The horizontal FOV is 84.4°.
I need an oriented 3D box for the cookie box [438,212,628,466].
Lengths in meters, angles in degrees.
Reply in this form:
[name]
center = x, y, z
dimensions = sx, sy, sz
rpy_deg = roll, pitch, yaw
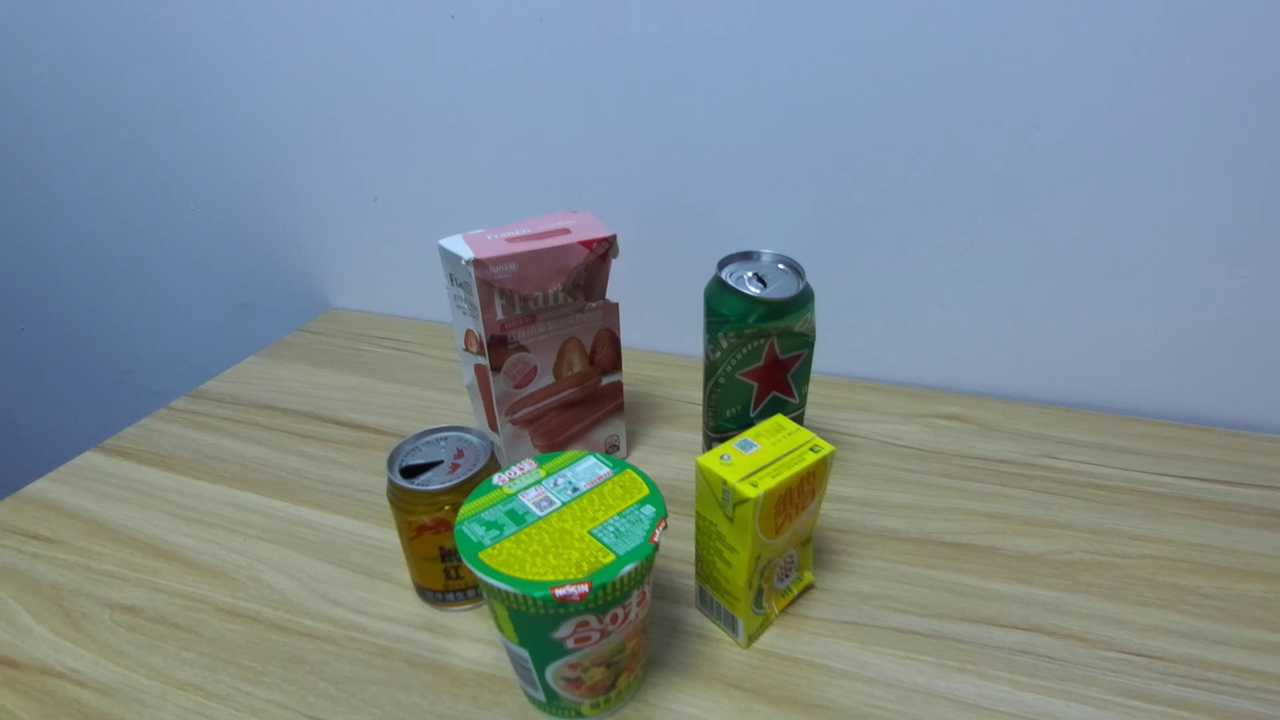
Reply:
[cookie box]
center = -0.066, 0.000, 0.492
dimensions = 0.105, 0.186, 0.059
rpy_deg = -17, 34, -24

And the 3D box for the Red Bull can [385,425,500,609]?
[Red Bull can]
center = -0.111, 0.094, 0.422
dimensions = 0.068, 0.093, 0.068
rpy_deg = -2, 28, 1

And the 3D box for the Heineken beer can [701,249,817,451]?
[Heineken beer can]
center = 0.074, 0.017, 0.460
dimensions = 0.068, 0.168, 0.069
rpy_deg = 8, 34, 15

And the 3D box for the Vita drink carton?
[Vita drink carton]
center = 0.070, 0.092, 0.390
dimensions = 0.077, 0.109, 0.043
rpy_deg = -23, 35, -30

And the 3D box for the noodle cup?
[noodle cup]
center = -0.035, 0.120, 0.357
dimensions = 0.097, 0.110, 0.097
rpy_deg = -1, 29, 1
